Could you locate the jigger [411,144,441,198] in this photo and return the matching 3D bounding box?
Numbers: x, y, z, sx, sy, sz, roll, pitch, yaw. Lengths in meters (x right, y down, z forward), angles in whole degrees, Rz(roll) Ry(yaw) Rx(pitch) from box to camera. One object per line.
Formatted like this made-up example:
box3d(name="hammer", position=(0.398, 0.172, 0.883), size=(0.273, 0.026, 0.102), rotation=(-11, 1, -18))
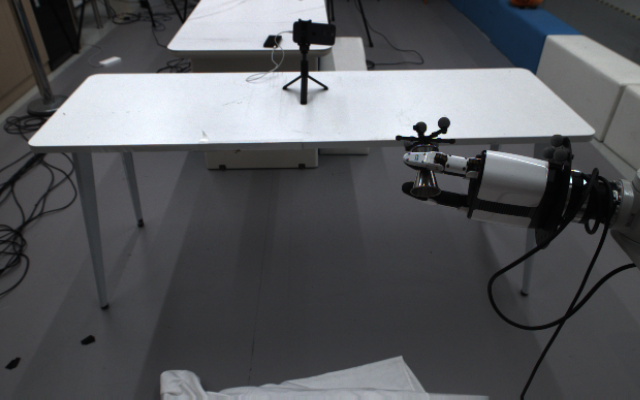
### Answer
box3d(name="jigger", position=(0.155, -0.044, 0.719), size=(0.043, 0.043, 0.071), rotation=(3, 71, 2))
